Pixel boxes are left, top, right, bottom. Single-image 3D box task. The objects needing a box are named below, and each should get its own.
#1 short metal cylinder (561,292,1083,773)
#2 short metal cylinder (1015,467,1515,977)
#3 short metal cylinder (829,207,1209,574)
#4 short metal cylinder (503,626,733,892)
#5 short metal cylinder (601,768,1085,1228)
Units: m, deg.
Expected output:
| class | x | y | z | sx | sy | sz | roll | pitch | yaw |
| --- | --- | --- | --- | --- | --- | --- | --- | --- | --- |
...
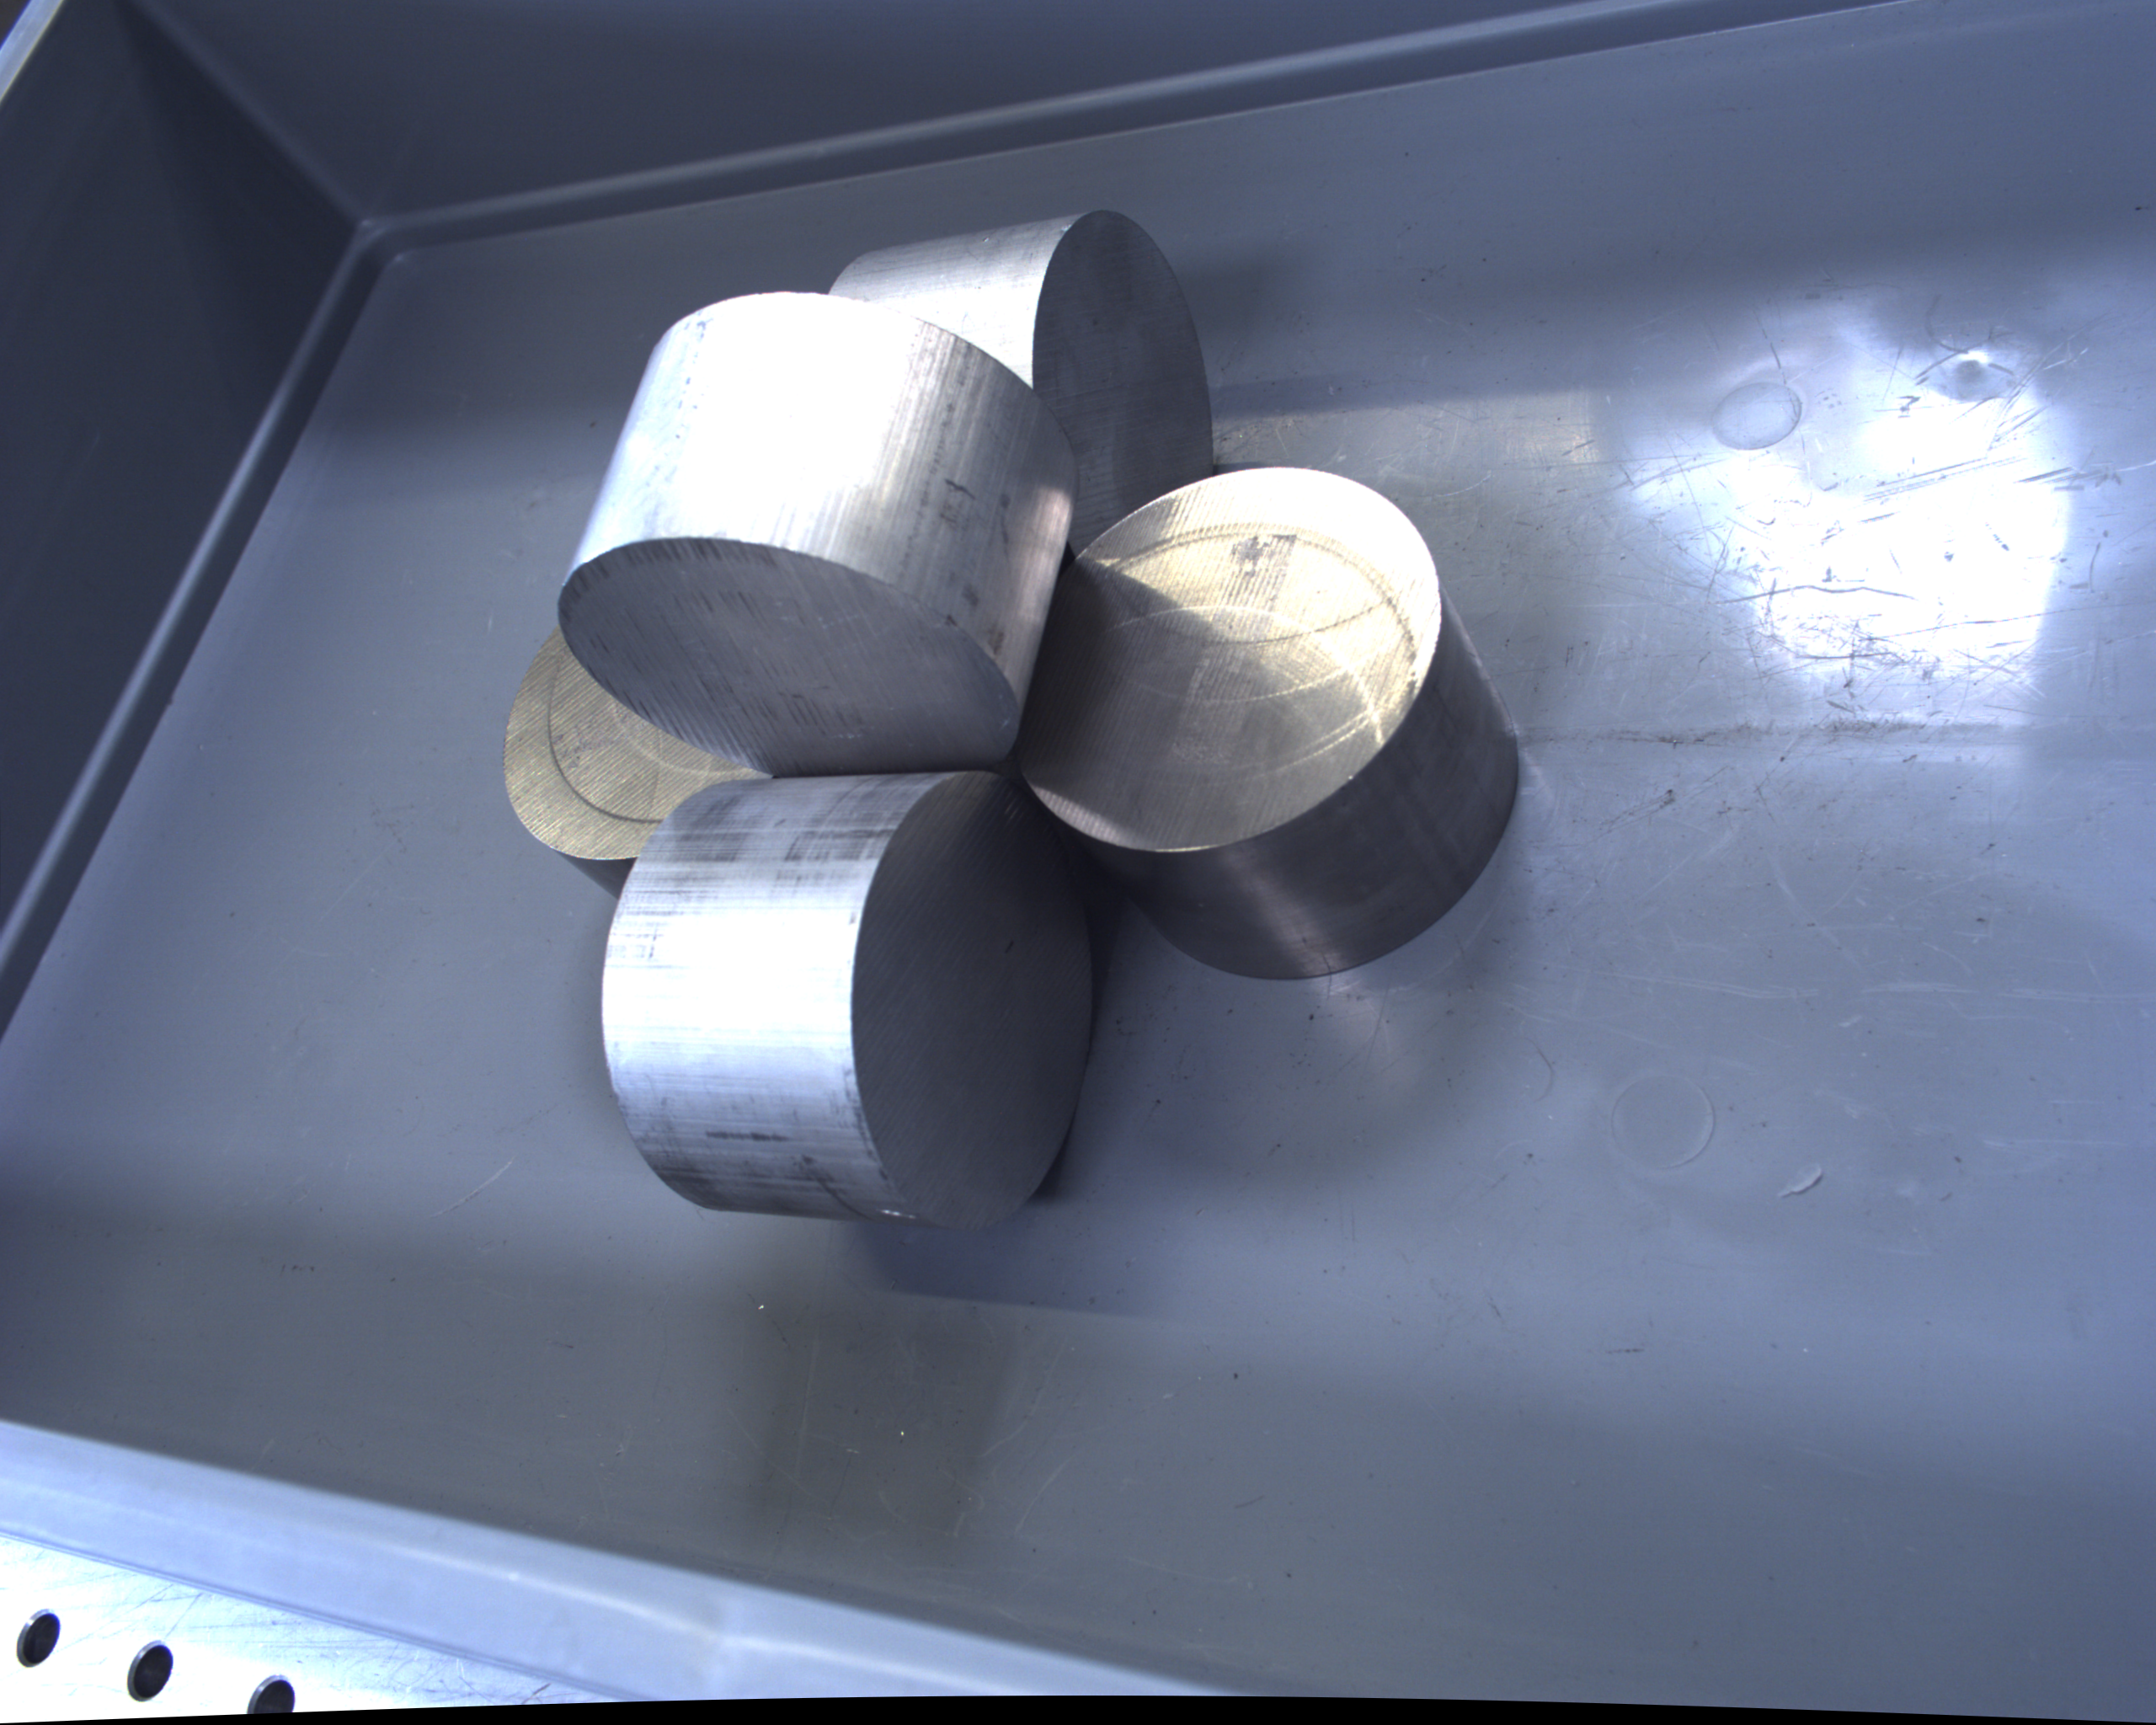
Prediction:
| class | x | y | z | sx | sy | sz | roll | pitch | yaw |
| --- | --- | --- | --- | --- | --- | --- | --- | --- | --- |
| short metal cylinder | -0.044 | -0.054 | 0.367 | 0.080 | 0.080 | 0.050 | -1 | 61 | 28 |
| short metal cylinder | 0.034 | -0.025 | 0.384 | 0.080 | 0.050 | 0.080 | -13 | 56 | 21 |
| short metal cylinder | -0.012 | -0.090 | 0.429 | 0.050 | 0.080 | 0.080 | -1 | 61 | 27 |
| short metal cylinder | -0.072 | -0.024 | 0.440 | 0.080 | 0.050 | 0.080 | -13 | 56 | 21 |
| short metal cylinder | -0.039 | 0.024 | 0.374 | 0.050 | 0.080 | 0.080 | -1 | 61 | 27 |
